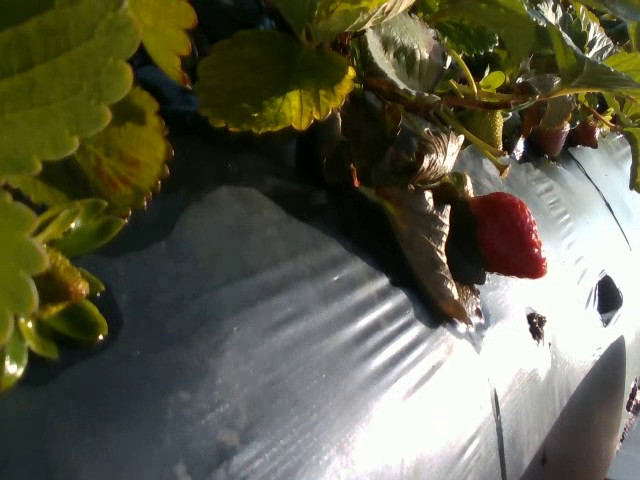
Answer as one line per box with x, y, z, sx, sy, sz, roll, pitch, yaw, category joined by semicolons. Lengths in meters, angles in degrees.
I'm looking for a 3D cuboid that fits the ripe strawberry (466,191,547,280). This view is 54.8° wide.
0.076;0.006;0.238;0.037;0.054;0.046;-44;-33;18;ripe strawberry
